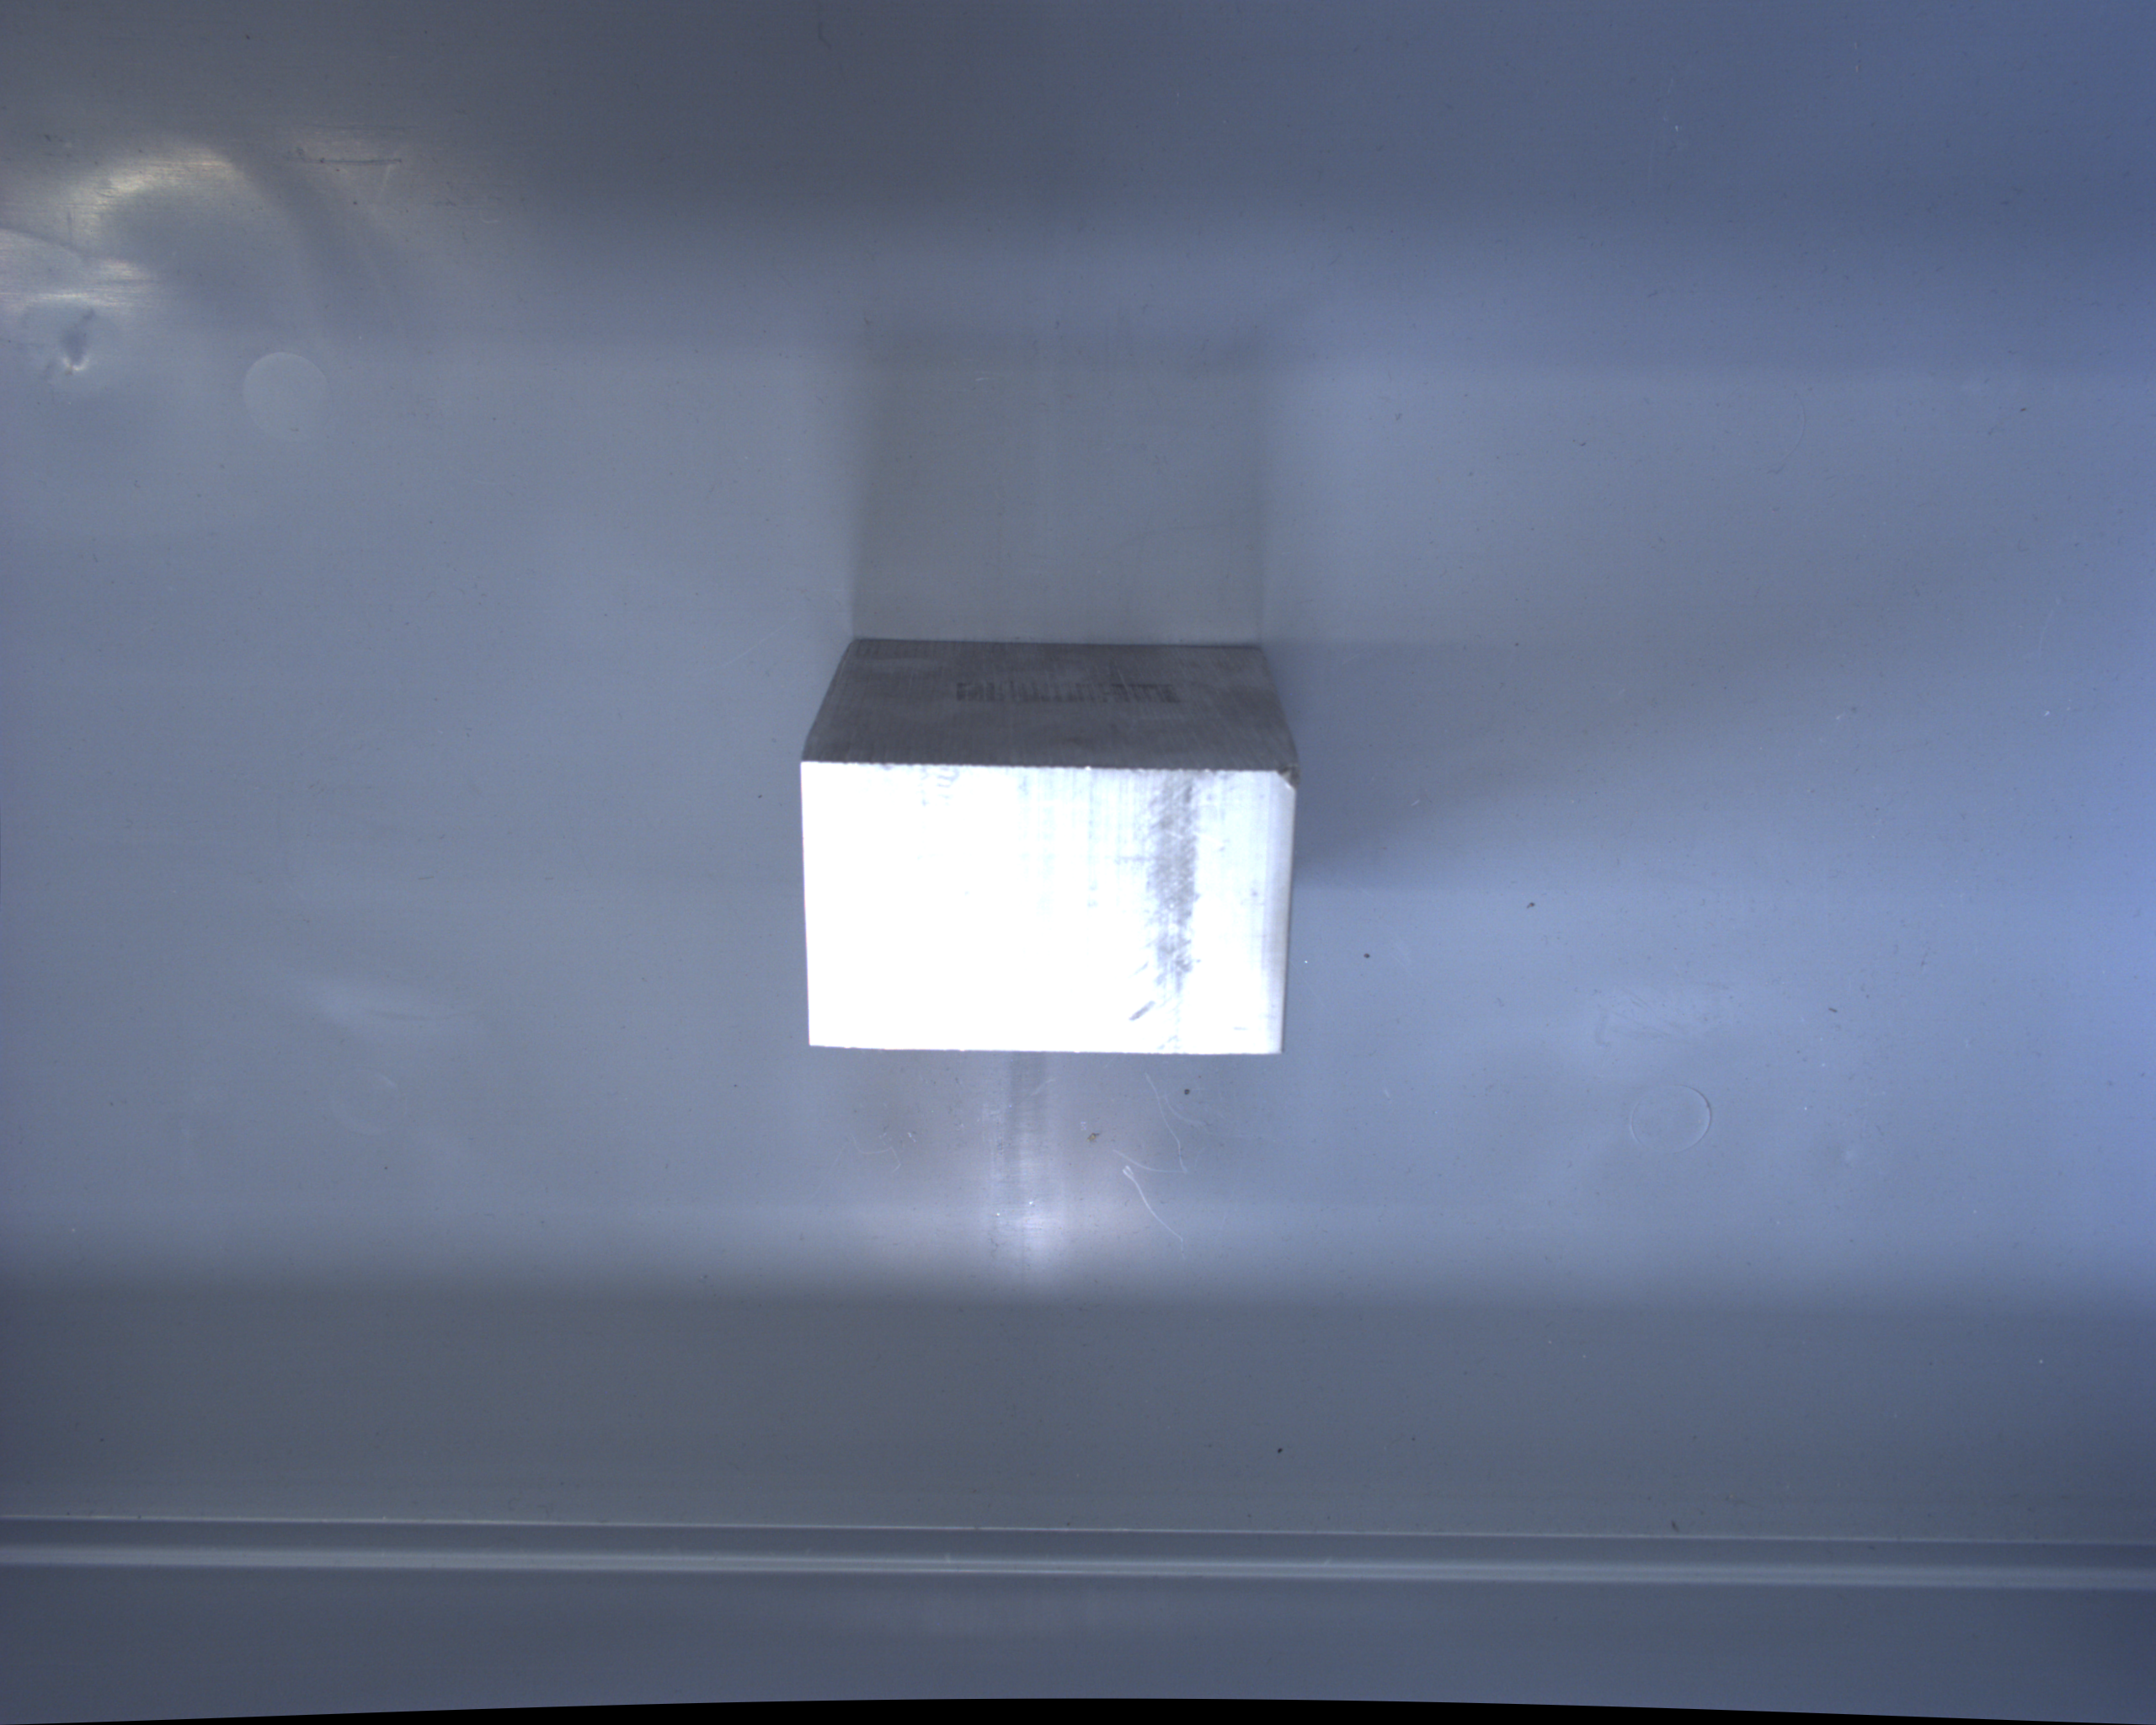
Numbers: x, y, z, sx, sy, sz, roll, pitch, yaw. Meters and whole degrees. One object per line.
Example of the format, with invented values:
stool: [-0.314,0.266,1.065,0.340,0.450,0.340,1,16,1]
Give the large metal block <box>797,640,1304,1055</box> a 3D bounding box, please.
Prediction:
large metal block: [-0.005,-0.006,0.377,0.080,0.080,0.050,1,110,-1]
